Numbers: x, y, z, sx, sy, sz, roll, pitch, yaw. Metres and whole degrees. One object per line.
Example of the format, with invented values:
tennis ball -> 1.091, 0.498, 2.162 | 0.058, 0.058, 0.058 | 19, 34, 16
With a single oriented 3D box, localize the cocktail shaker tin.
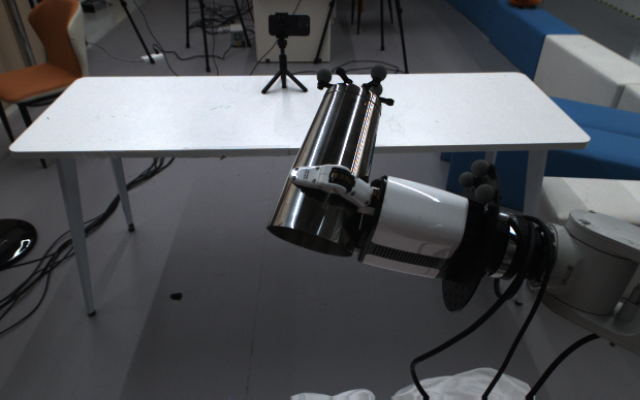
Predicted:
cocktail shaker tin -> 0.014, -0.034, 0.520 | 0.093, 0.093, 0.170 | 13, 74, 15
